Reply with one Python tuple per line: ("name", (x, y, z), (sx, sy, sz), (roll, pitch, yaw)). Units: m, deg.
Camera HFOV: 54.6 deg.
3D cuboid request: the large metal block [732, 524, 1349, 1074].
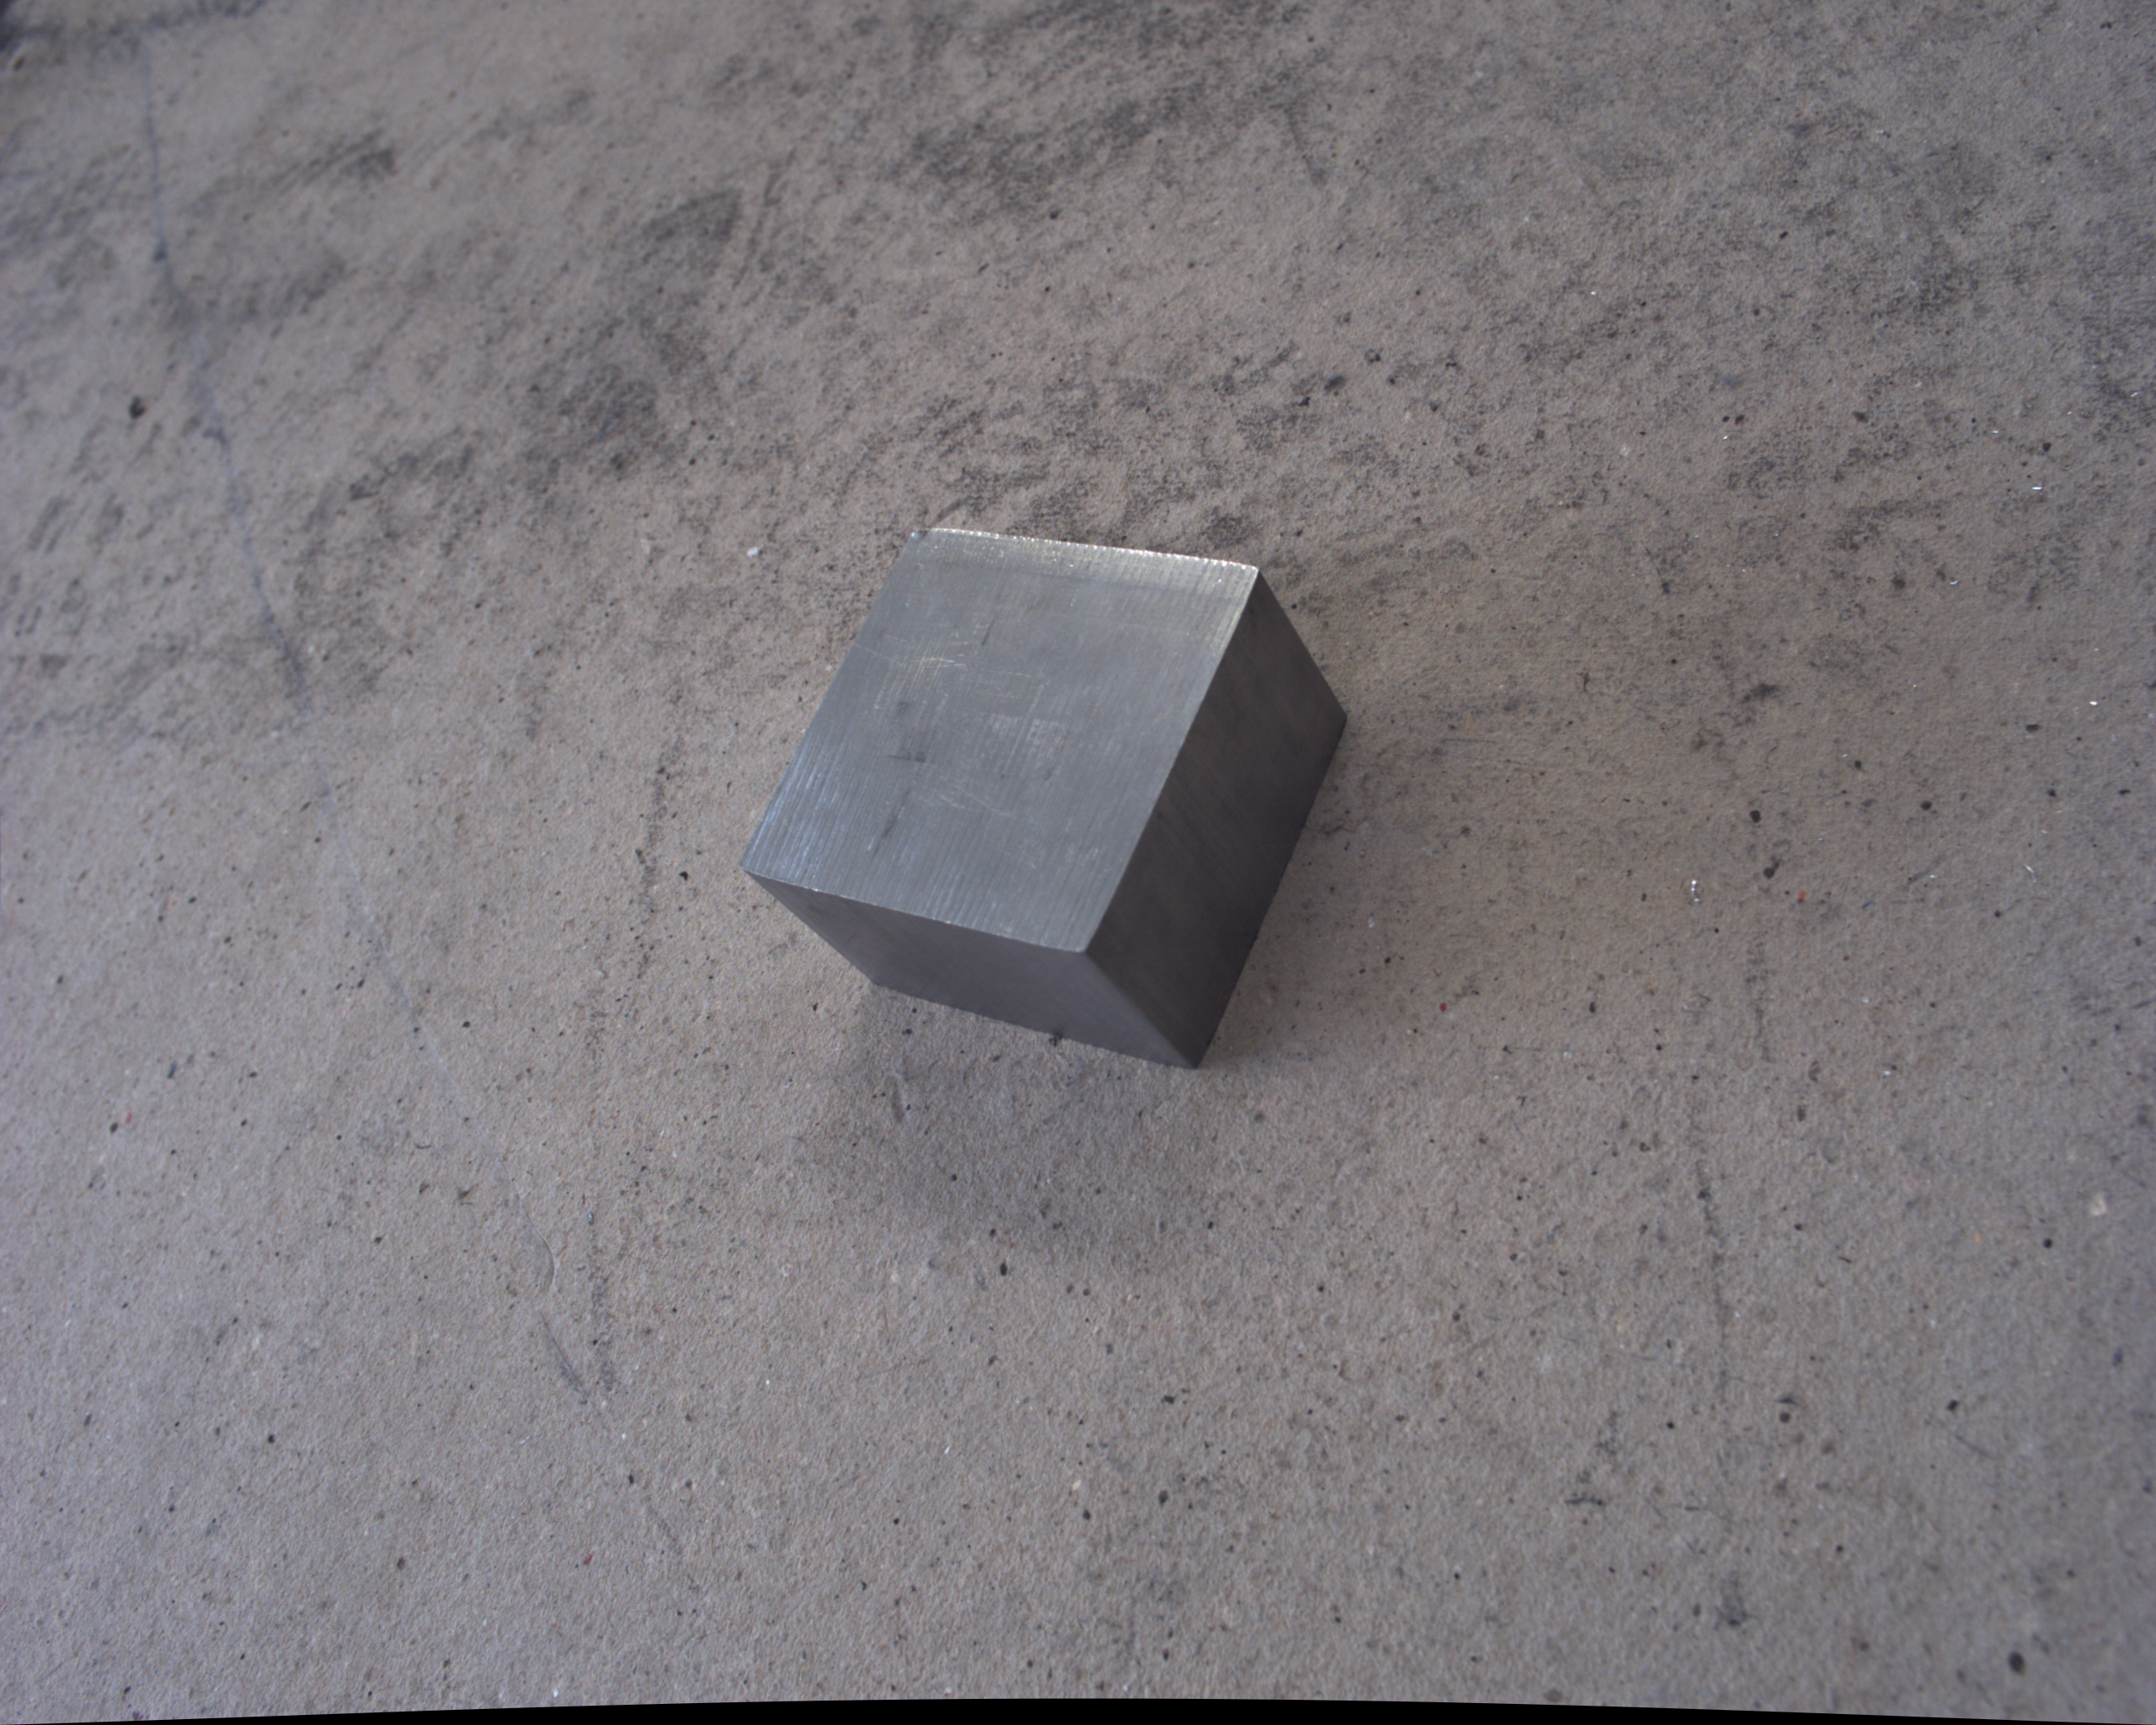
("large metal block", (-0.006, -0.014, 0.402), (0.080, 0.050, 0.080), (13, 68, 32))
